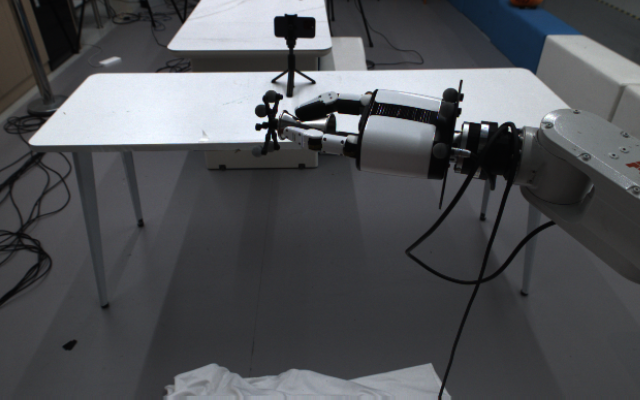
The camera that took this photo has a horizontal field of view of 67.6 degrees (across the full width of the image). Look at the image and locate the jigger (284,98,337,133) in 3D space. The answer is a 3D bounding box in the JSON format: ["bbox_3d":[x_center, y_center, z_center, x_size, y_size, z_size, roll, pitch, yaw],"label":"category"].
[{"bbox_3d":[-0.012,-0.098,0.638,0.071,0.043,0.043,8,35,17],"label":"jigger"}]
